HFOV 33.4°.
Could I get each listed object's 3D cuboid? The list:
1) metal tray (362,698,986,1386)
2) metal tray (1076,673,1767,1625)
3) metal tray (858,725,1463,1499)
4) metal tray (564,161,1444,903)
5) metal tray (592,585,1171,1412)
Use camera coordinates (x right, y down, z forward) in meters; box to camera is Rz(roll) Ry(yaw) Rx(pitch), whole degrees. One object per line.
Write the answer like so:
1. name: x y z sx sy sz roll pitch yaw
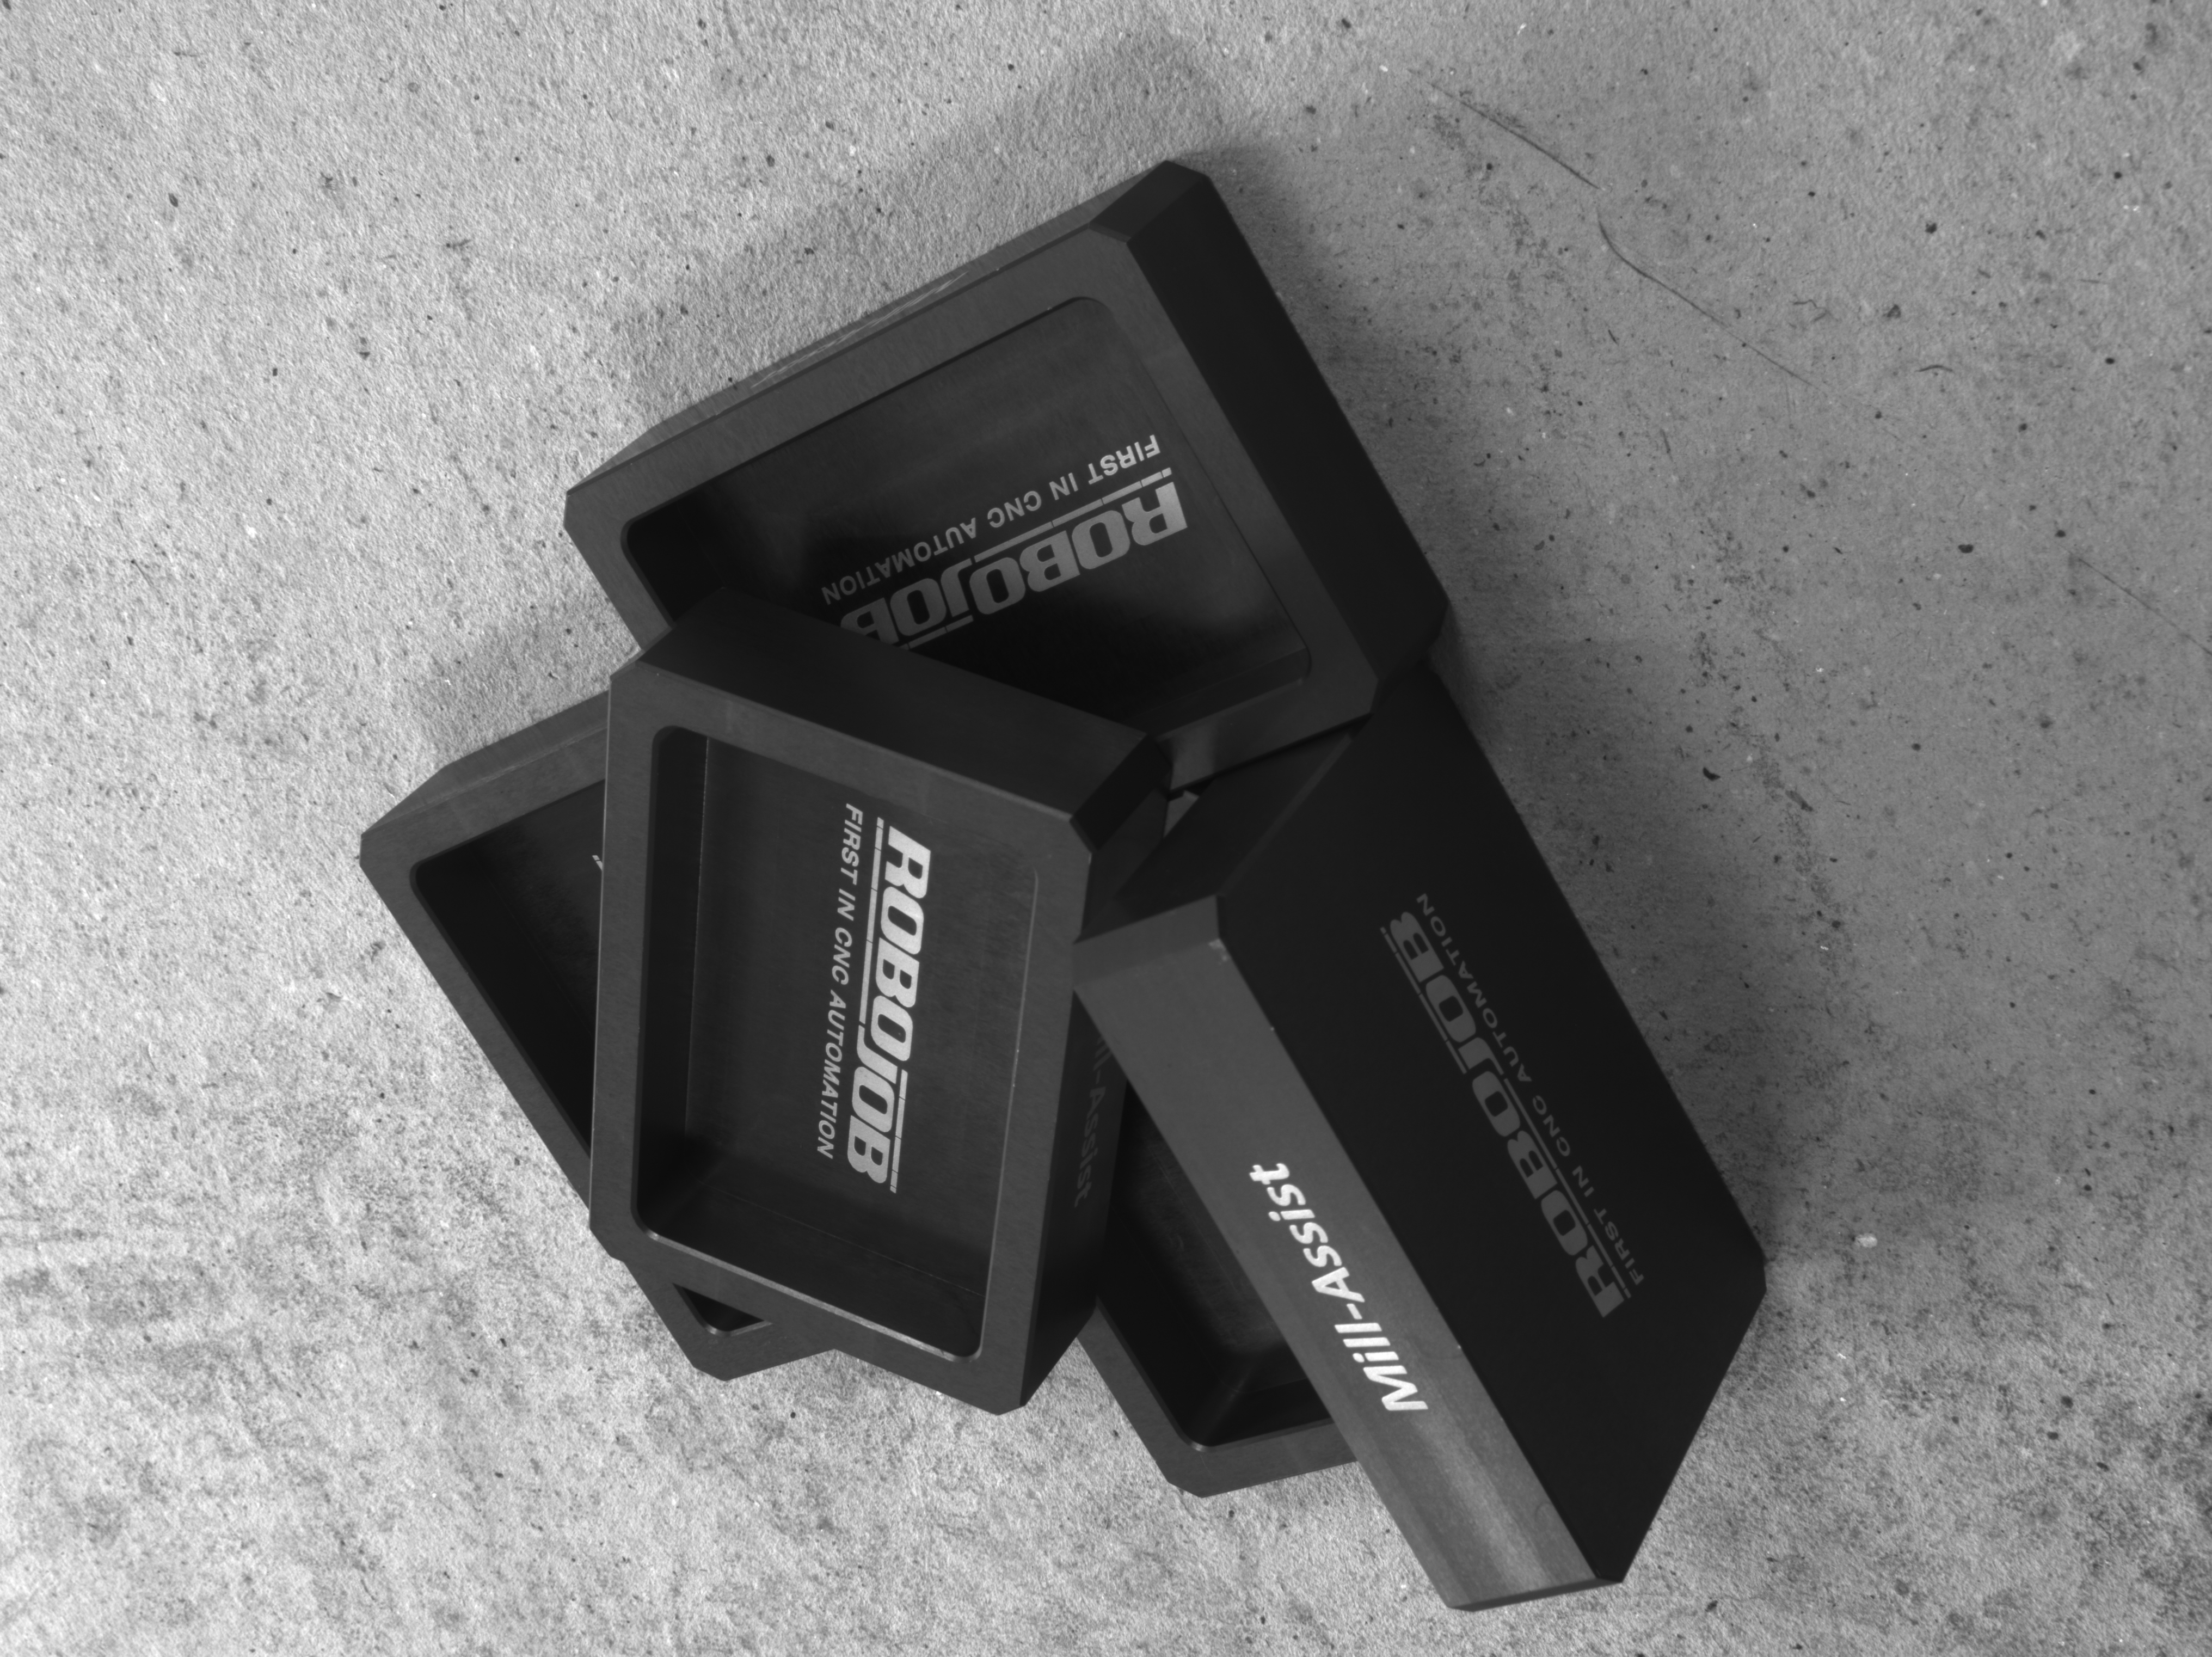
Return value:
1. metal tray: -0.072 0.038 0.700 0.090 0.030 0.130 -20 107 36
2. metal tray: 0.055 0.051 0.599 0.030 0.090 0.130 -20 108 35
3. metal tray: 0.020 0.054 0.659 0.090 0.030 0.130 -21 108 37
4. metal tray: -0.019 -0.046 0.623 0.130 0.030 0.090 -20 108 36
5. metal tray: -0.042 0.031 0.644 0.090 0.030 0.130 20 127 17
